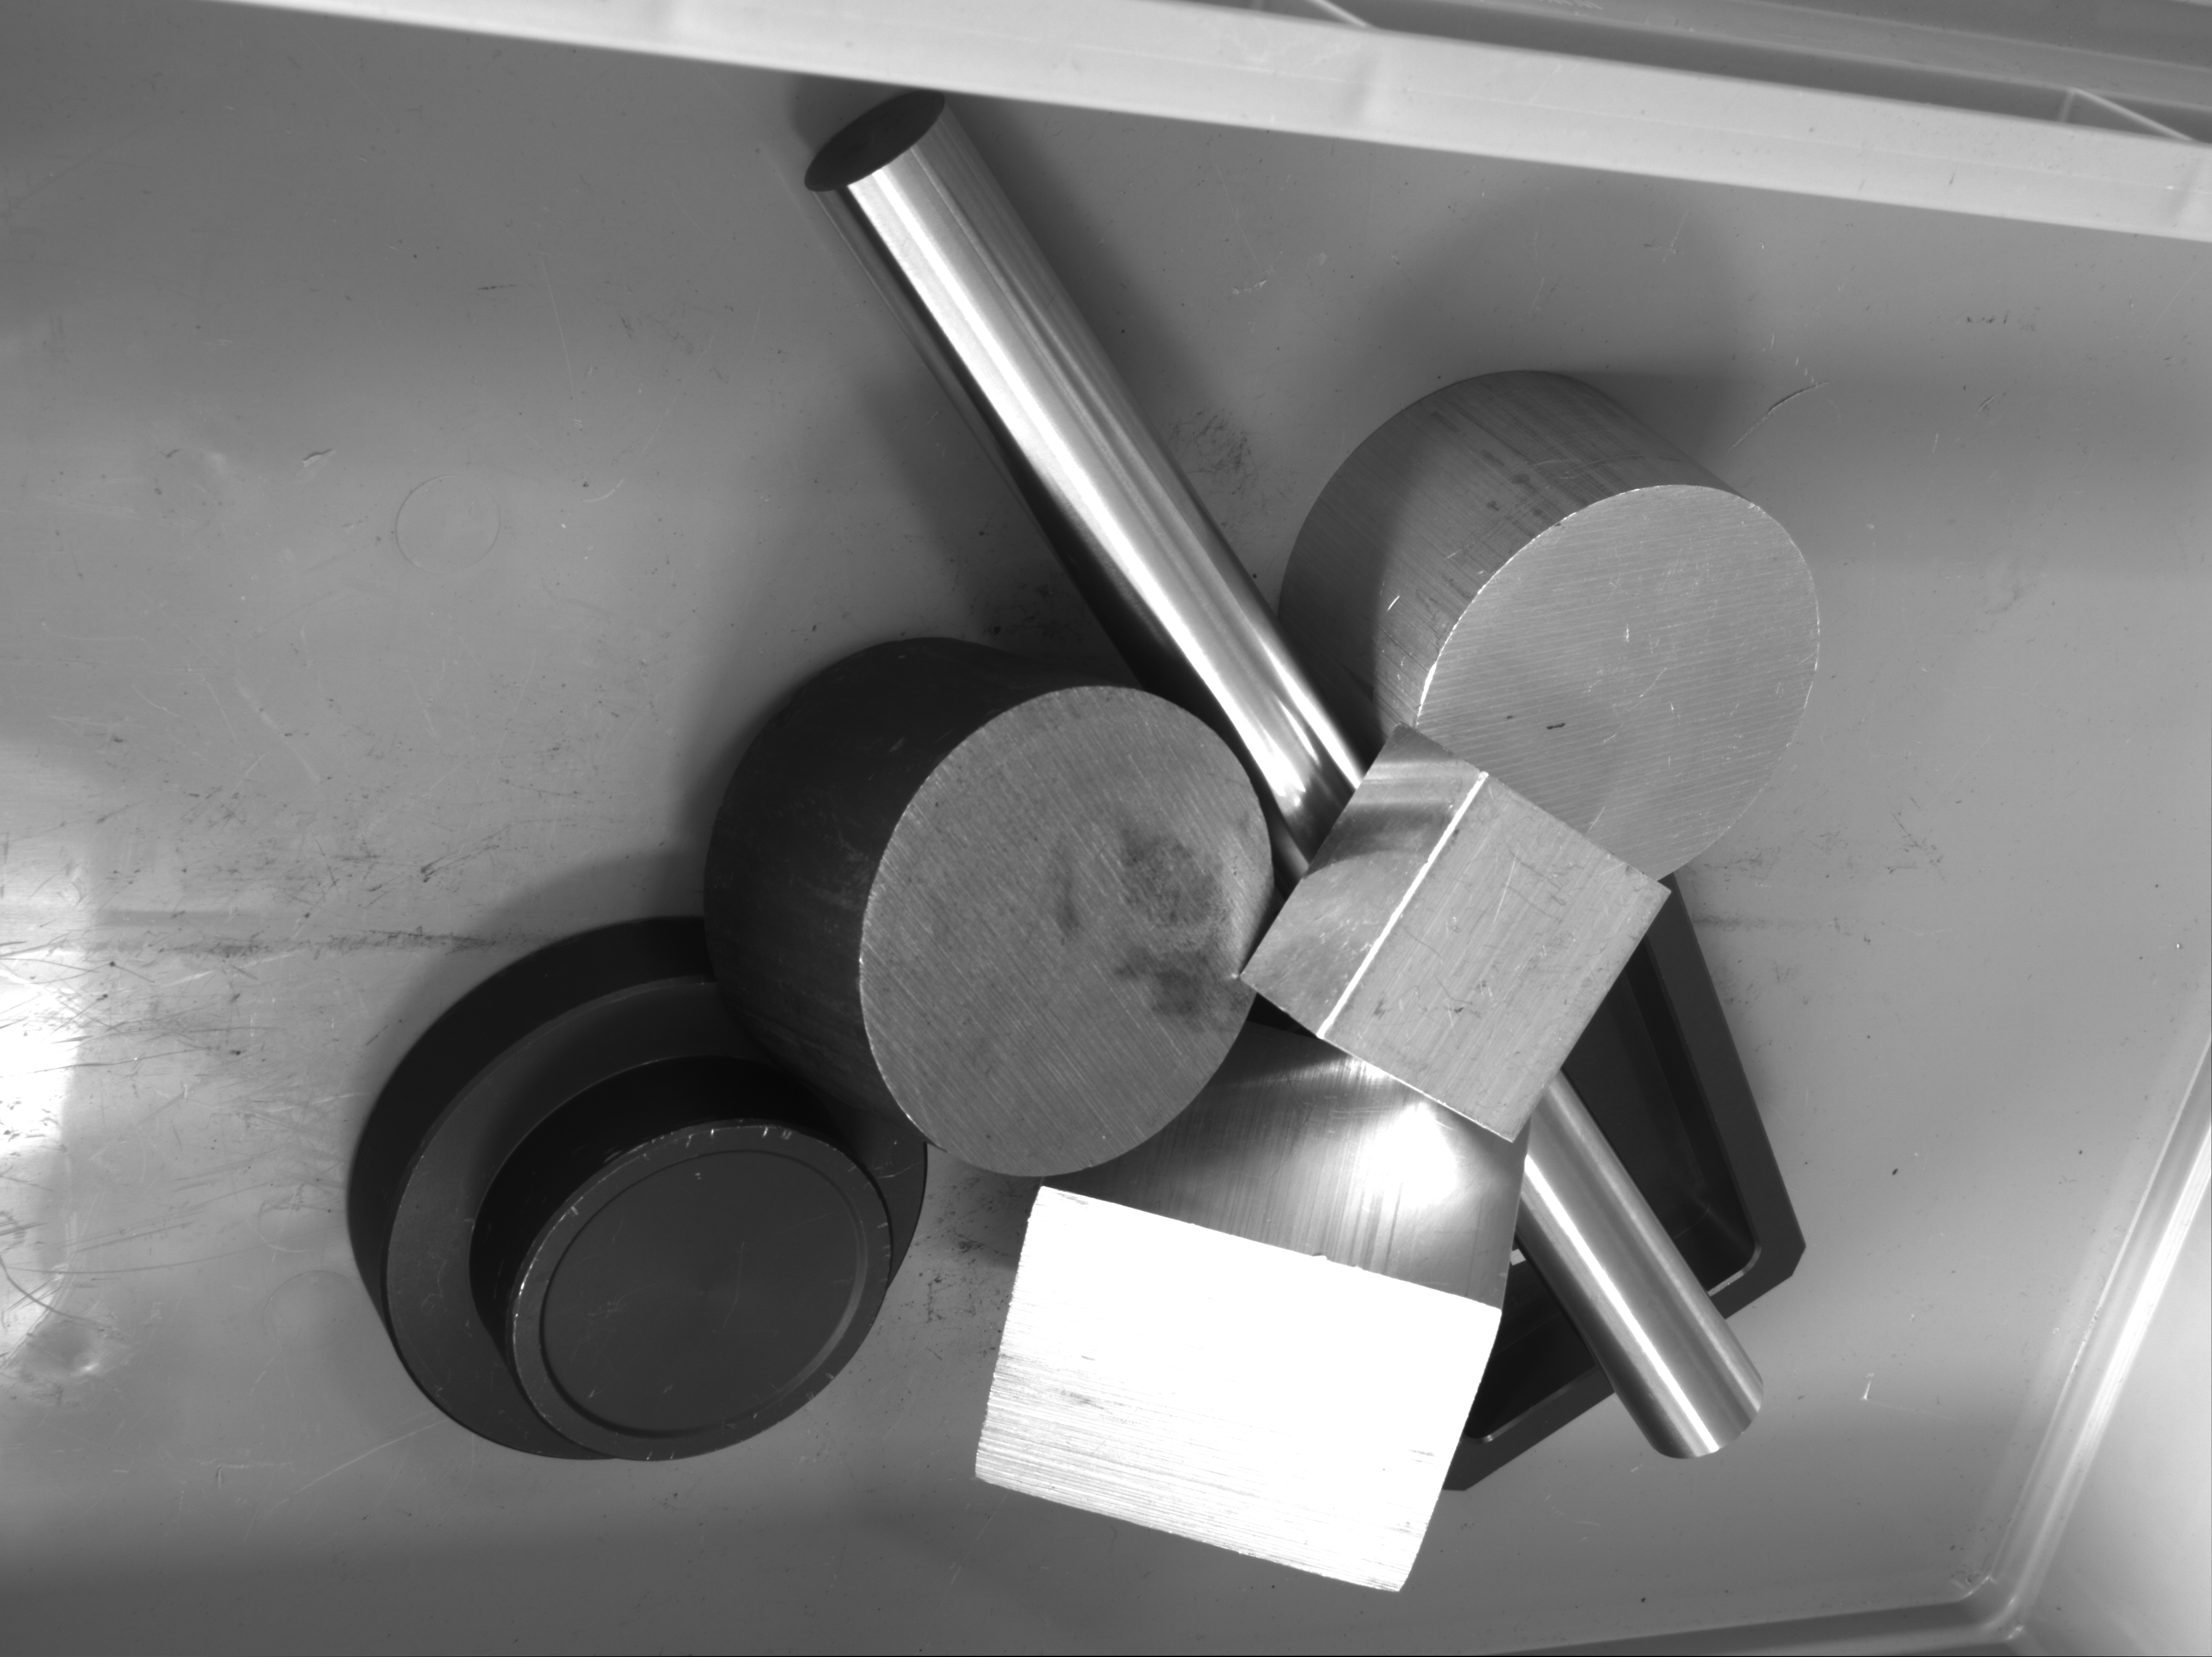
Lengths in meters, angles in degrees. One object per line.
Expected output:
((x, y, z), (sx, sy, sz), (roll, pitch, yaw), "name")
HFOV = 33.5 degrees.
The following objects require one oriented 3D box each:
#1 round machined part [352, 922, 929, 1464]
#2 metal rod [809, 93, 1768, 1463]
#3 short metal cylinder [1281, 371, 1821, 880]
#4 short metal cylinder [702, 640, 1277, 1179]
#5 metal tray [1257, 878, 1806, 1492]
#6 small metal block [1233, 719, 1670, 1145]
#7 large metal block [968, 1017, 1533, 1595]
((-0.075, 0.069, 0.626), (0.098, 0.042, 0.098), (-13, 124, -21), "round machined part")
((0.040, 0.004, 0.628), (0.025, 0.025, 0.301), (-37, 120, -4), "metal rod")
((0.077, -0.033, 0.642), (0.080, 0.050, 0.080), (-13, 124, -21), "short metal cylinder")
((-0.019, 0.012, 0.603), (0.080, 0.050, 0.080), (-10, 107, -34), "short metal cylinder")
((0.077, 0.059, 0.710), (0.090, 0.030, 0.130), (-32, 128, -8), "metal tray")
((0.058, 0.018, 0.610), (0.050, 0.025, 0.050), (30, 94, -37), "small metal block")
((0.025, 0.082, 0.650), (0.080, 0.050, 0.080), (14, 132, 2), "large metal block")
